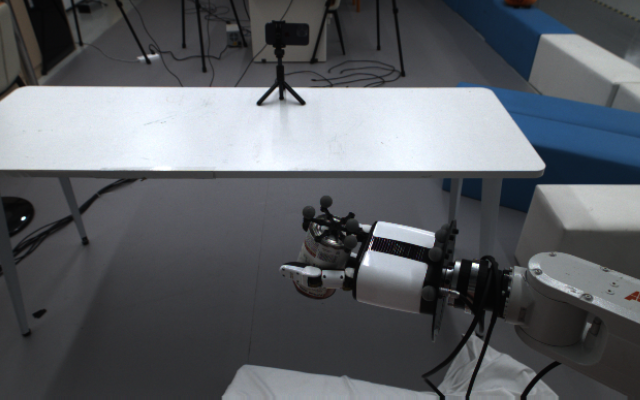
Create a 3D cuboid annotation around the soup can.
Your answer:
[{"bbox_3d":[0.006,0.080,0.670,0.067,0.101,0.067,13,35,-9],"label":"soup can"}]
